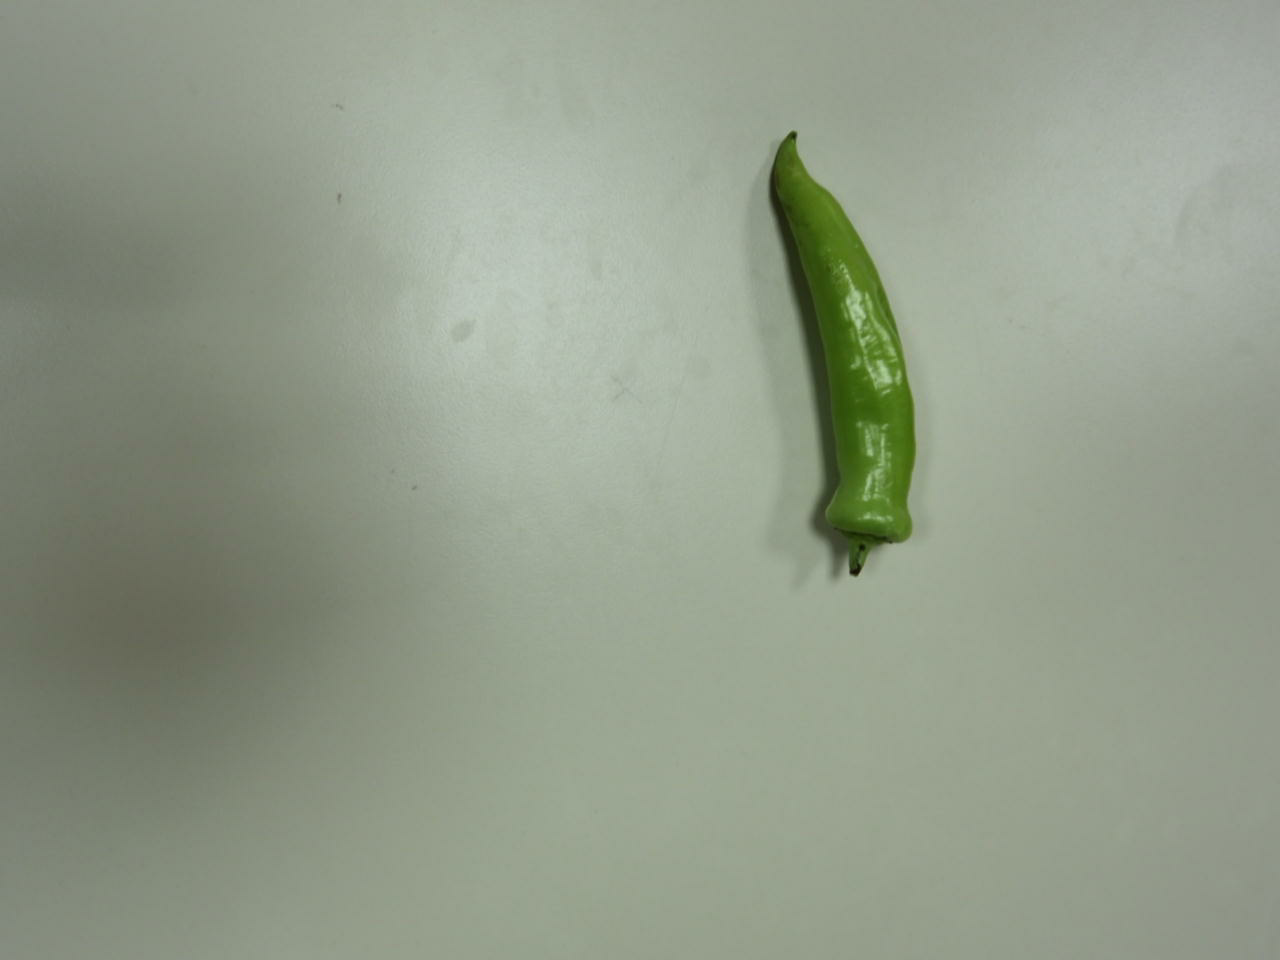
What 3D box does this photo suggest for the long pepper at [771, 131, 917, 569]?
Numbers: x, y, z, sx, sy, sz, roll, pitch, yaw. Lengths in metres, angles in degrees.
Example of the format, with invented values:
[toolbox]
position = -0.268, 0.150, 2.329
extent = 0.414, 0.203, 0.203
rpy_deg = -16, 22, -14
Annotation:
[long pepper]
position = 0.094, -0.059, 0.438
extent = 0.047, 0.038, 0.197
rpy_deg = -8, 92, -11
